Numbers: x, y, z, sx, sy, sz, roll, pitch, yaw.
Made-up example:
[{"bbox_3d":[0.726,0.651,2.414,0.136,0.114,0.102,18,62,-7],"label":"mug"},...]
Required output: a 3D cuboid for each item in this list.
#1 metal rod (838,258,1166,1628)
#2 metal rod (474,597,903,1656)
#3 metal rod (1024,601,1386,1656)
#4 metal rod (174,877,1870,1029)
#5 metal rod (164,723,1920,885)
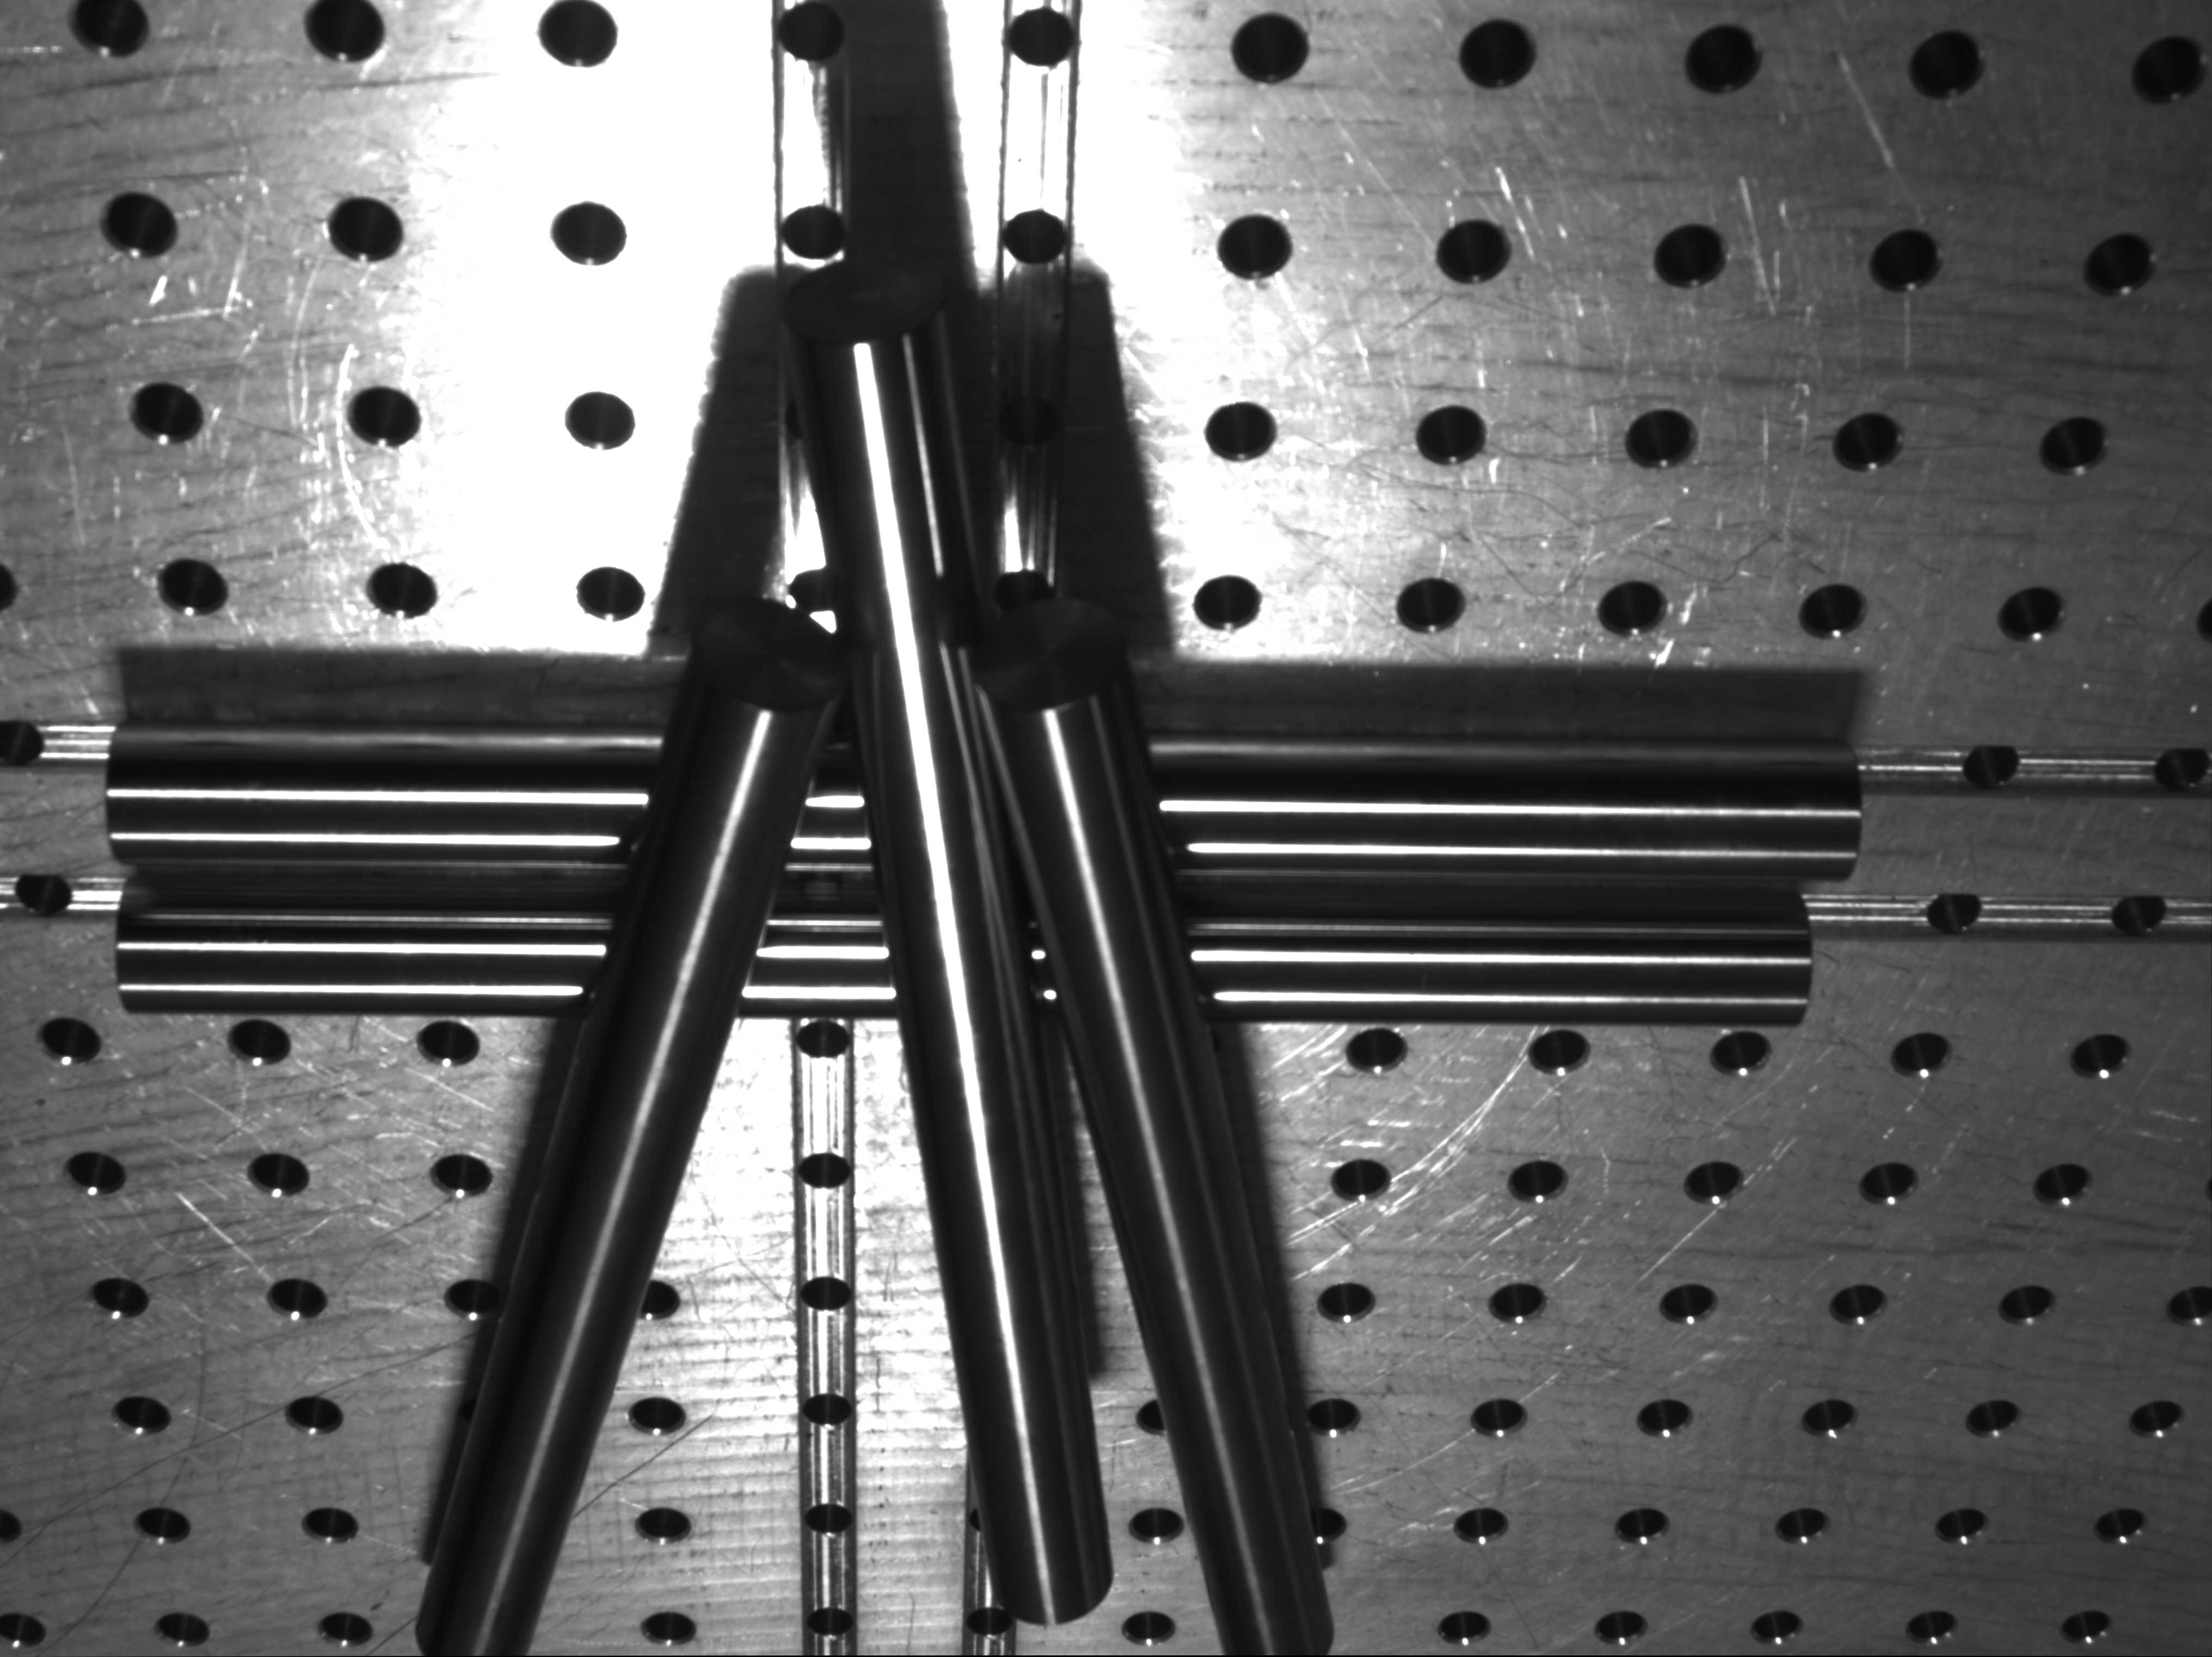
[{"bbox_3d":[-0.014,0.036,0.639,0.025,0.025,0.300,-5,130,2],"label":"metal rod"},{"bbox_3d":[-0.083,0.072,0.675,0.025,0.025,0.300,11,136,-11],"label":"metal rod"},{"bbox_3d":[0.024,0.074,0.679,0.025,0.025,0.300,-8,137,5],"label":"metal rod"},{"bbox_3d":[-0.014,0.023,0.660,0.300,0.025,0.025,1,130,-2],"label":"metal rod"},{"bbox_3d":[-0.010,-0.004,0.638,0.300,0.025,0.025,1,130,-2],"label":"metal rod"}]
